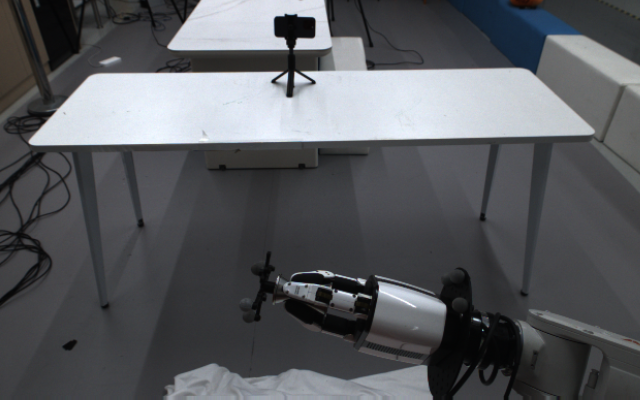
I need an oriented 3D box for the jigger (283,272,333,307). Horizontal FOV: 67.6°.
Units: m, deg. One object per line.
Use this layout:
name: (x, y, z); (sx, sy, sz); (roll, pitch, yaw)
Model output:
jigger: (-0.014, 0.114, 0.604); (0.071, 0.043, 0.043); (11, 35, 3)
